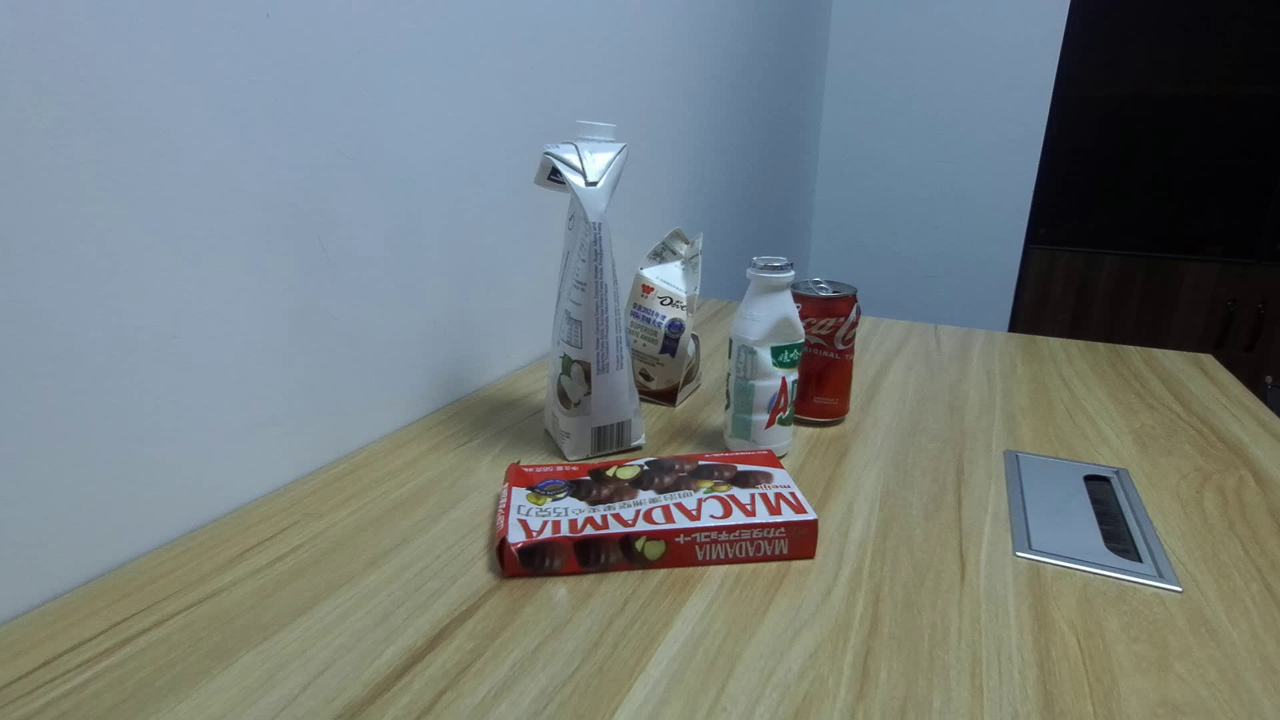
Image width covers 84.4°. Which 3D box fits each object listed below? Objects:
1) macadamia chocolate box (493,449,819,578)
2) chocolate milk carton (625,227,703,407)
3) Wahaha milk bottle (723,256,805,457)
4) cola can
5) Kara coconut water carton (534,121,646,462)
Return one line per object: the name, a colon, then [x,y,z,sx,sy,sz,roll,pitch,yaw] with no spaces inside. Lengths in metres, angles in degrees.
macadamia chocolate box: [0.006,0.090,0.433,0.183,0.028,0.105,-2,17,-7]
chocolate milk carton: [0.024,-0.040,0.647,0.076,0.155,0.089,12,4,16]
Wahaha milk bottle: [0.091,-0.001,0.517,0.056,0.147,0.056,2,18,0]
cola can: [0.150,-0.008,0.601,0.066,0.117,0.066,7,20,18]
Kara coconut water carton: [-0.038,-0.050,0.521,0.069,0.238,0.114,-8,17,-20]
